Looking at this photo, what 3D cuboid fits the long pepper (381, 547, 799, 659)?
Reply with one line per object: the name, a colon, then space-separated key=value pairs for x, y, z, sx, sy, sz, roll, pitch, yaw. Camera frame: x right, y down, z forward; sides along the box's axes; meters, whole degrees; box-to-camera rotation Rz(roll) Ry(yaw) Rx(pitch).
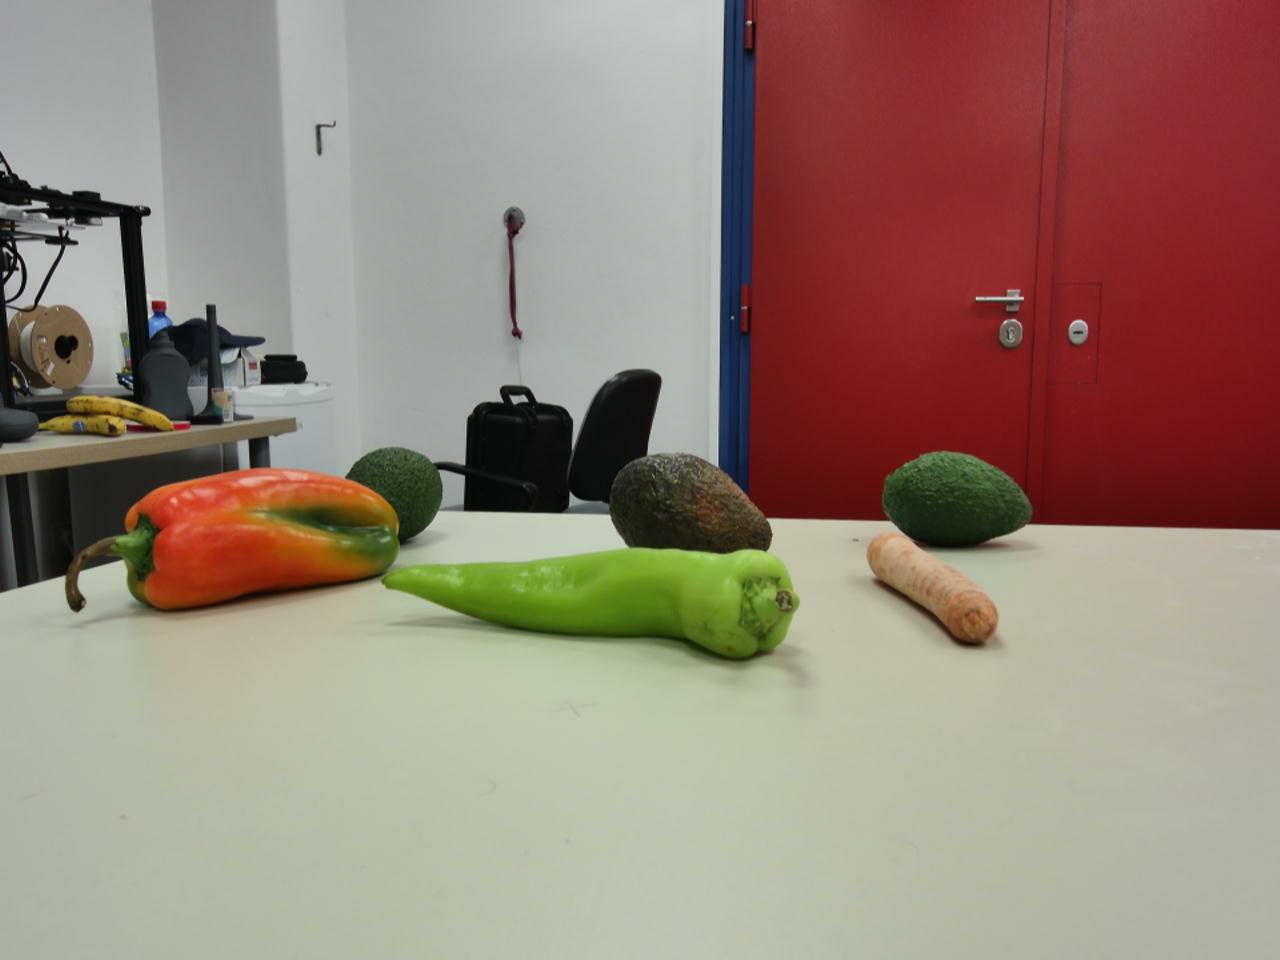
long pepper: x=-0.018 y=0.050 z=0.451 sx=0.205 sy=0.045 sz=0.065 roll=2 pitch=4 yaw=28
